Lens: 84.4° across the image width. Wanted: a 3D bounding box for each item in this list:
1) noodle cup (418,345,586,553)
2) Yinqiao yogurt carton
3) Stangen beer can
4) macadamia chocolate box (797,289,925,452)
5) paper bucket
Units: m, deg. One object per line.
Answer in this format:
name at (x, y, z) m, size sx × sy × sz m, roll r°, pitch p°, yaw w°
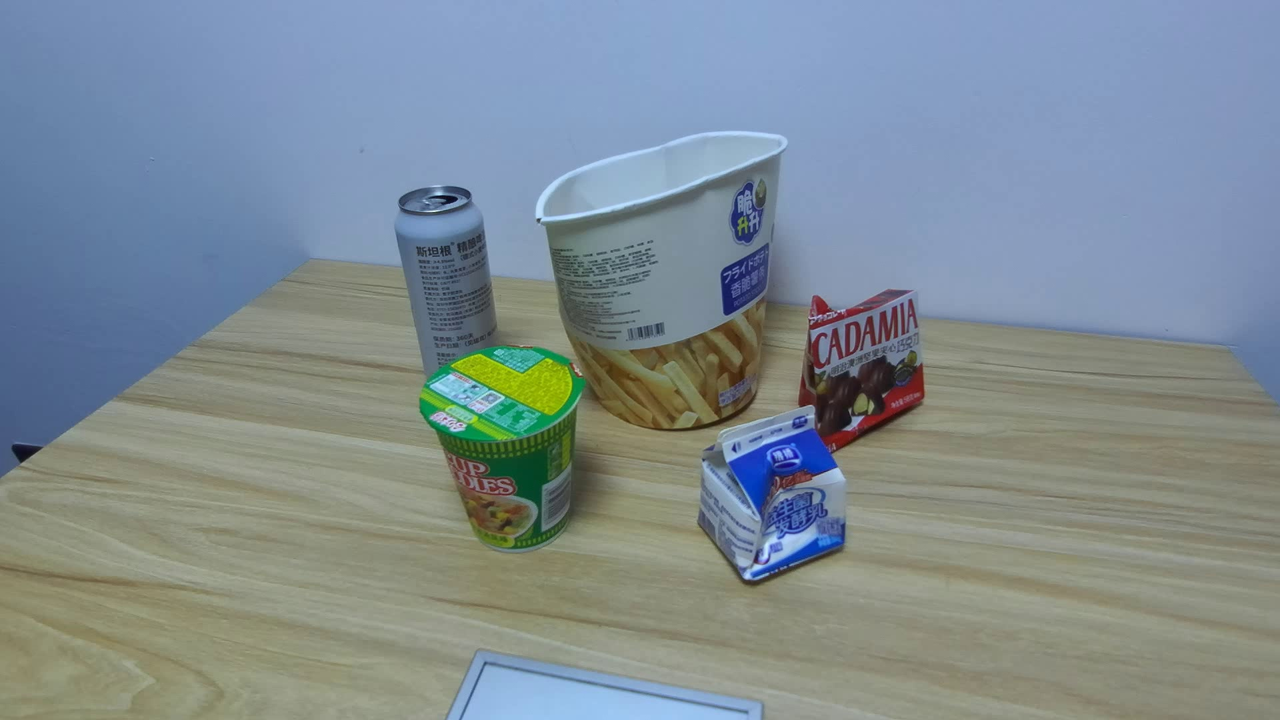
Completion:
noodle cup at (-0.082, 0.063, 0.457) m, size 0.097 × 0.110 × 0.097 m, roll -1°, pitch 33°, yaw 1°
Yinqiao yogurt carton at (0.081, 0.075, 0.447) m, size 0.077 × 0.094 × 0.070 m, roll -14°, pitch 29°, yaw -21°
Stangen beer can at (-0.153, -0.051, 0.574) m, size 0.067 × 0.171 × 0.067 m, roll -1°, pitch 33°, yaw 1°
macadamia chocolate box at (0.170, -0.001, 0.546) m, size 0.127 × 0.112 × 0.056 m, roll -20°, pitch 36°, yaw -26°
paper bucket at (0.027, -0.063, 0.561) m, size 0.147 × 0.199 × 0.218 m, roll 8°, pitch 34°, yaw 14°
